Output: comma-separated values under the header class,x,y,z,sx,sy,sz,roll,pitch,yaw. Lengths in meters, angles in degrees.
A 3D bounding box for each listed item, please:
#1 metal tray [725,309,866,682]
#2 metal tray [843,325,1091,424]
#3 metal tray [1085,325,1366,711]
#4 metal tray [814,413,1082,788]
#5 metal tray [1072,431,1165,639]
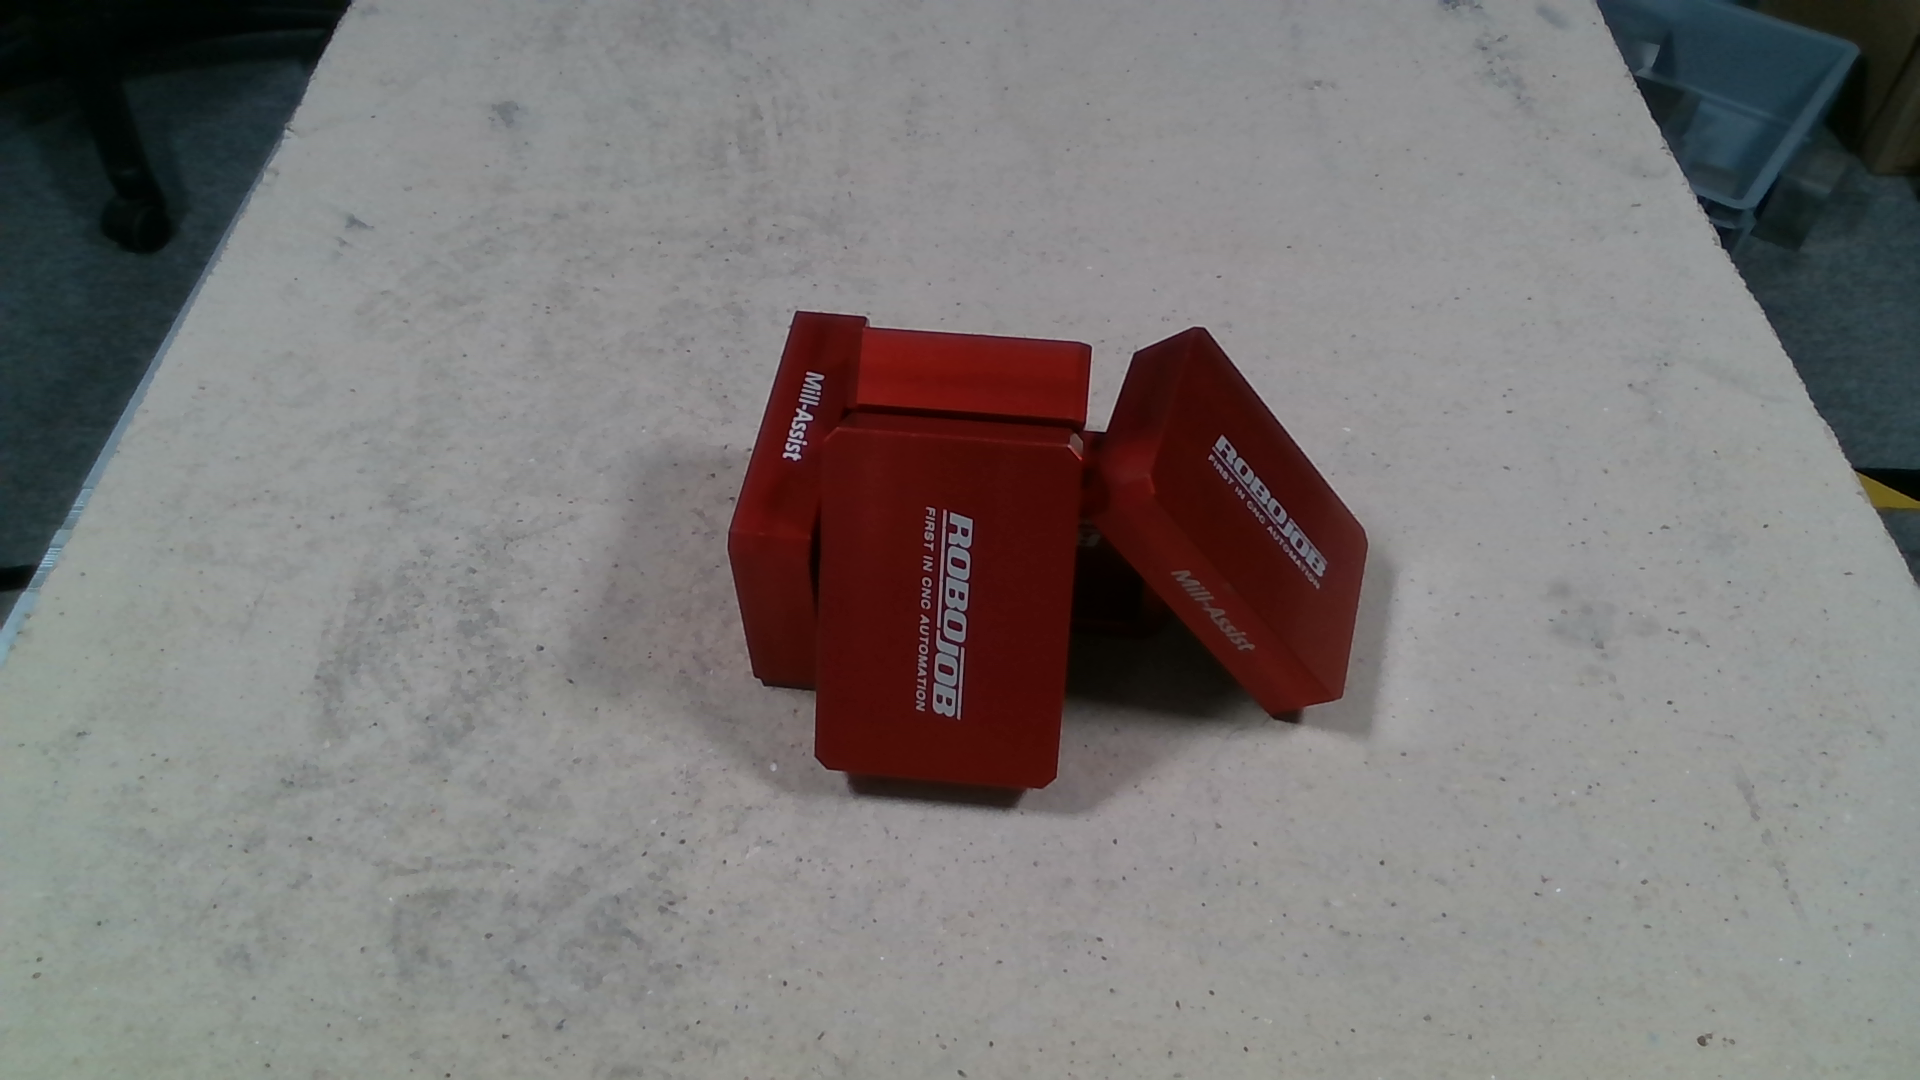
class,x,y,z,sx,sy,sz,roll,pitch,yaw
metal tray,-0.061,-0.019,0.560,0.030,0.090,0.130,5,50,5
metal tray,0.006,-0.057,0.572,0.090,0.130,0.030,5,86,4
metal tray,0.107,-0.007,0.533,0.030,0.130,0.090,-19,37,40
metal tray,-0.005,0.022,0.503,0.090,0.130,0.030,4,17,4
metal tray,0.019,-0.004,0.548,0.130,0.090,0.030,5,50,4
